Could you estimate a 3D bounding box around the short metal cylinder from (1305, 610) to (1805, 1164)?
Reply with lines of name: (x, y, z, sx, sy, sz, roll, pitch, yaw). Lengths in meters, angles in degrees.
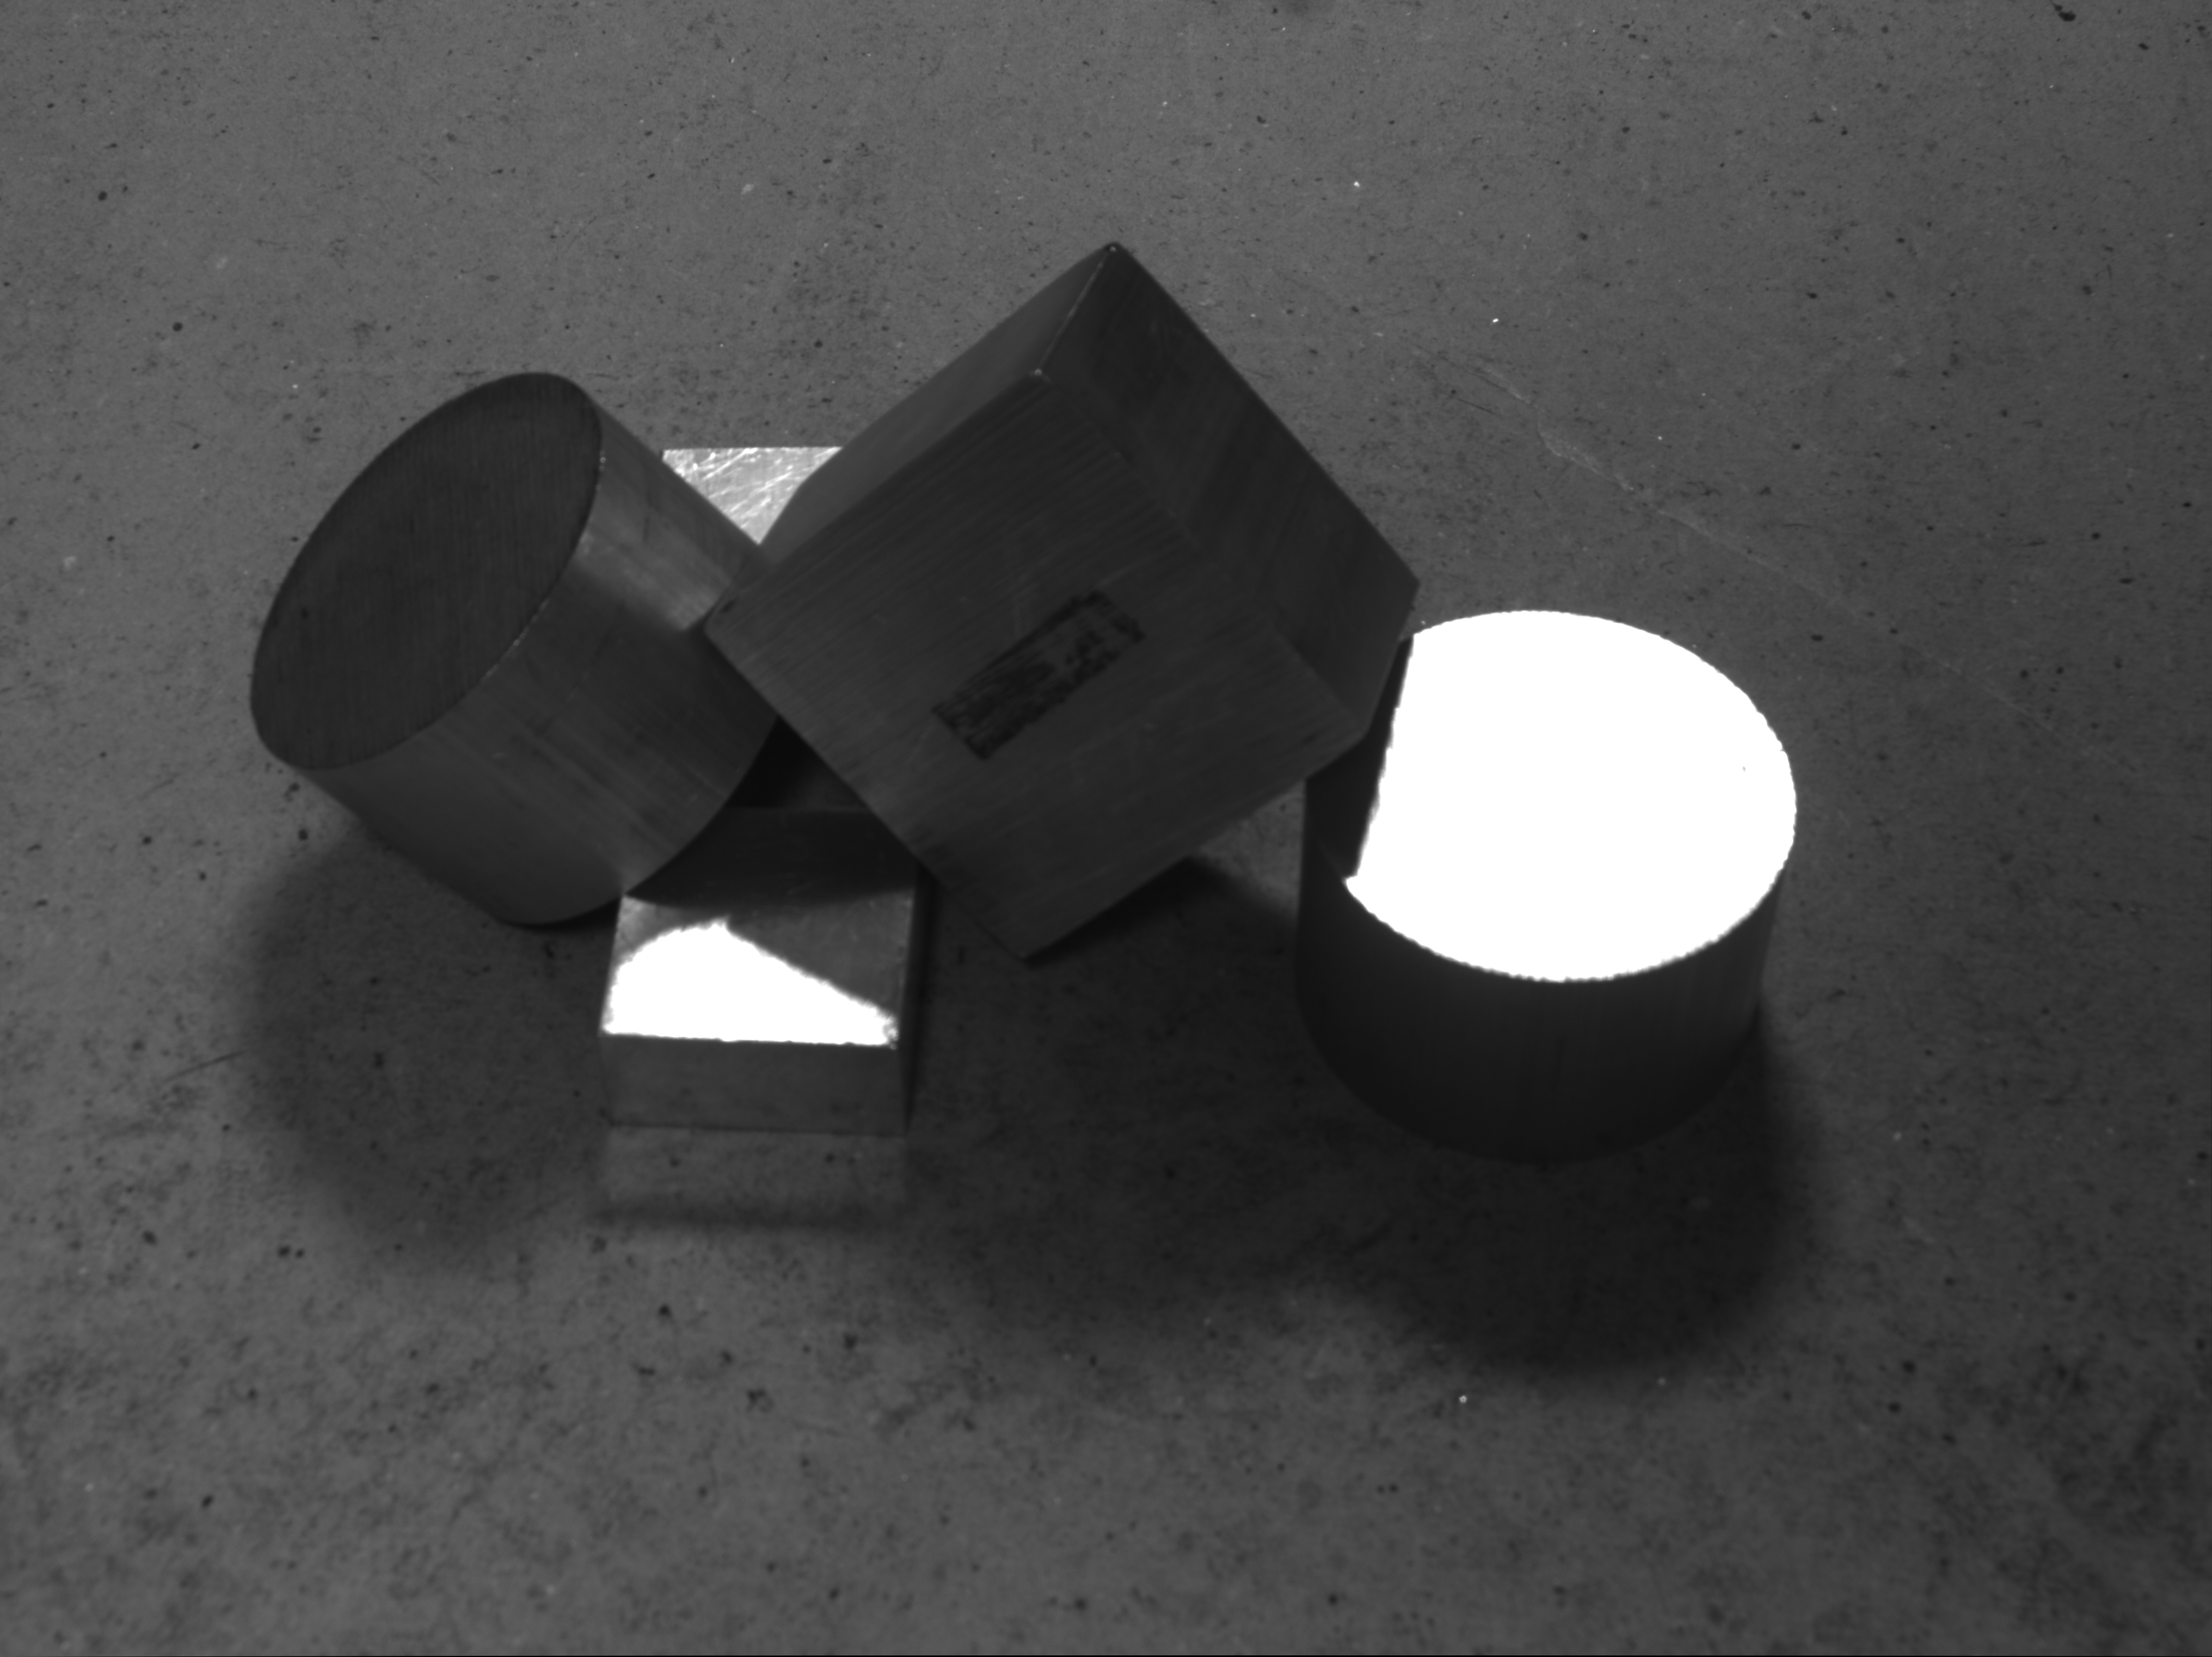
short metal cylinder: (0.074, 0.009, 0.618, 0.080, 0.050, 0.080, 0, 50, 0)

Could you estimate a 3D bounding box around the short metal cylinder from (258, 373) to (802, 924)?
short metal cylinder: (-0.098, -0.031, 0.628, 0.080, 0.050, 0.080, -25, 45, 27)

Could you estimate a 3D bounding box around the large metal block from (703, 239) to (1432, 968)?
large metal block: (-0.005, -0.037, 0.613, 0.080, 0.080, 0.050, 47, 32, -15)

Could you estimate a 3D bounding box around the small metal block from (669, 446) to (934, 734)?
small metal block: (-0.056, -0.044, 0.679, 0.050, 0.025, 0.050, -1, 50, -1)

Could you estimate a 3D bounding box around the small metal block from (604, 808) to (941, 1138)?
small metal block: (-0.055, 0.024, 0.622, 0.050, 0.025, 0.050, 2, 50, 2)
